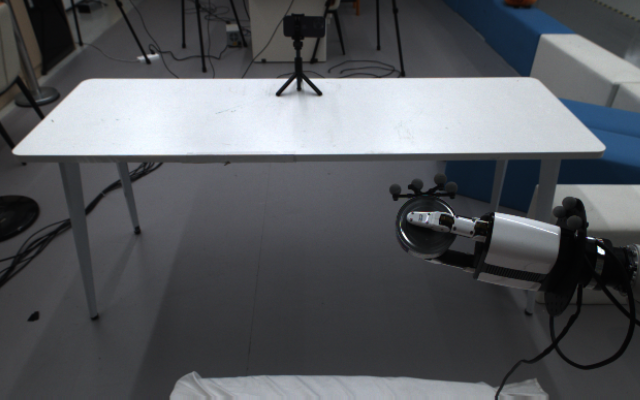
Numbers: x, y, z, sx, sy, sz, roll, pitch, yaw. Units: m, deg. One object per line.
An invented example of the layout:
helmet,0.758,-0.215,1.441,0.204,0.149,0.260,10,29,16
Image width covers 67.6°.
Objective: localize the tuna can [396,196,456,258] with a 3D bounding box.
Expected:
tuna can,0.149,0.036,0.679,0.085,0.034,0.085,-3,66,7
